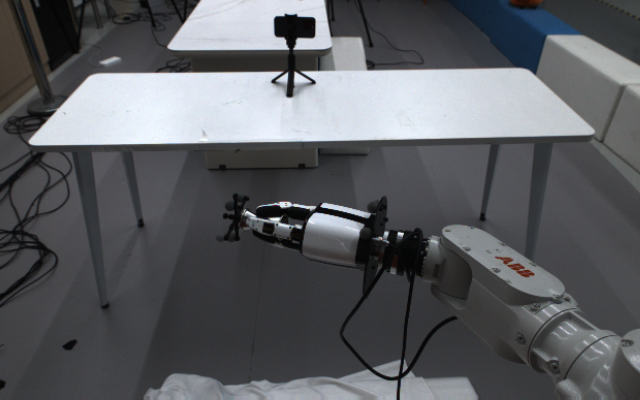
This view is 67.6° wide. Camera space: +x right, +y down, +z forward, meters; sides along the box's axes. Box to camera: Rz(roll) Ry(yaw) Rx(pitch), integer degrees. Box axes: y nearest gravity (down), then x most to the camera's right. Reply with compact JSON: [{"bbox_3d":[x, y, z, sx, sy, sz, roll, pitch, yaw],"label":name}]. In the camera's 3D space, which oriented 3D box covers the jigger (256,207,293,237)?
[{"bbox_3d":[-0.085,0.035,0.787,0.071,0.043,0.043,11,36,16],"label":"jigger"}]
